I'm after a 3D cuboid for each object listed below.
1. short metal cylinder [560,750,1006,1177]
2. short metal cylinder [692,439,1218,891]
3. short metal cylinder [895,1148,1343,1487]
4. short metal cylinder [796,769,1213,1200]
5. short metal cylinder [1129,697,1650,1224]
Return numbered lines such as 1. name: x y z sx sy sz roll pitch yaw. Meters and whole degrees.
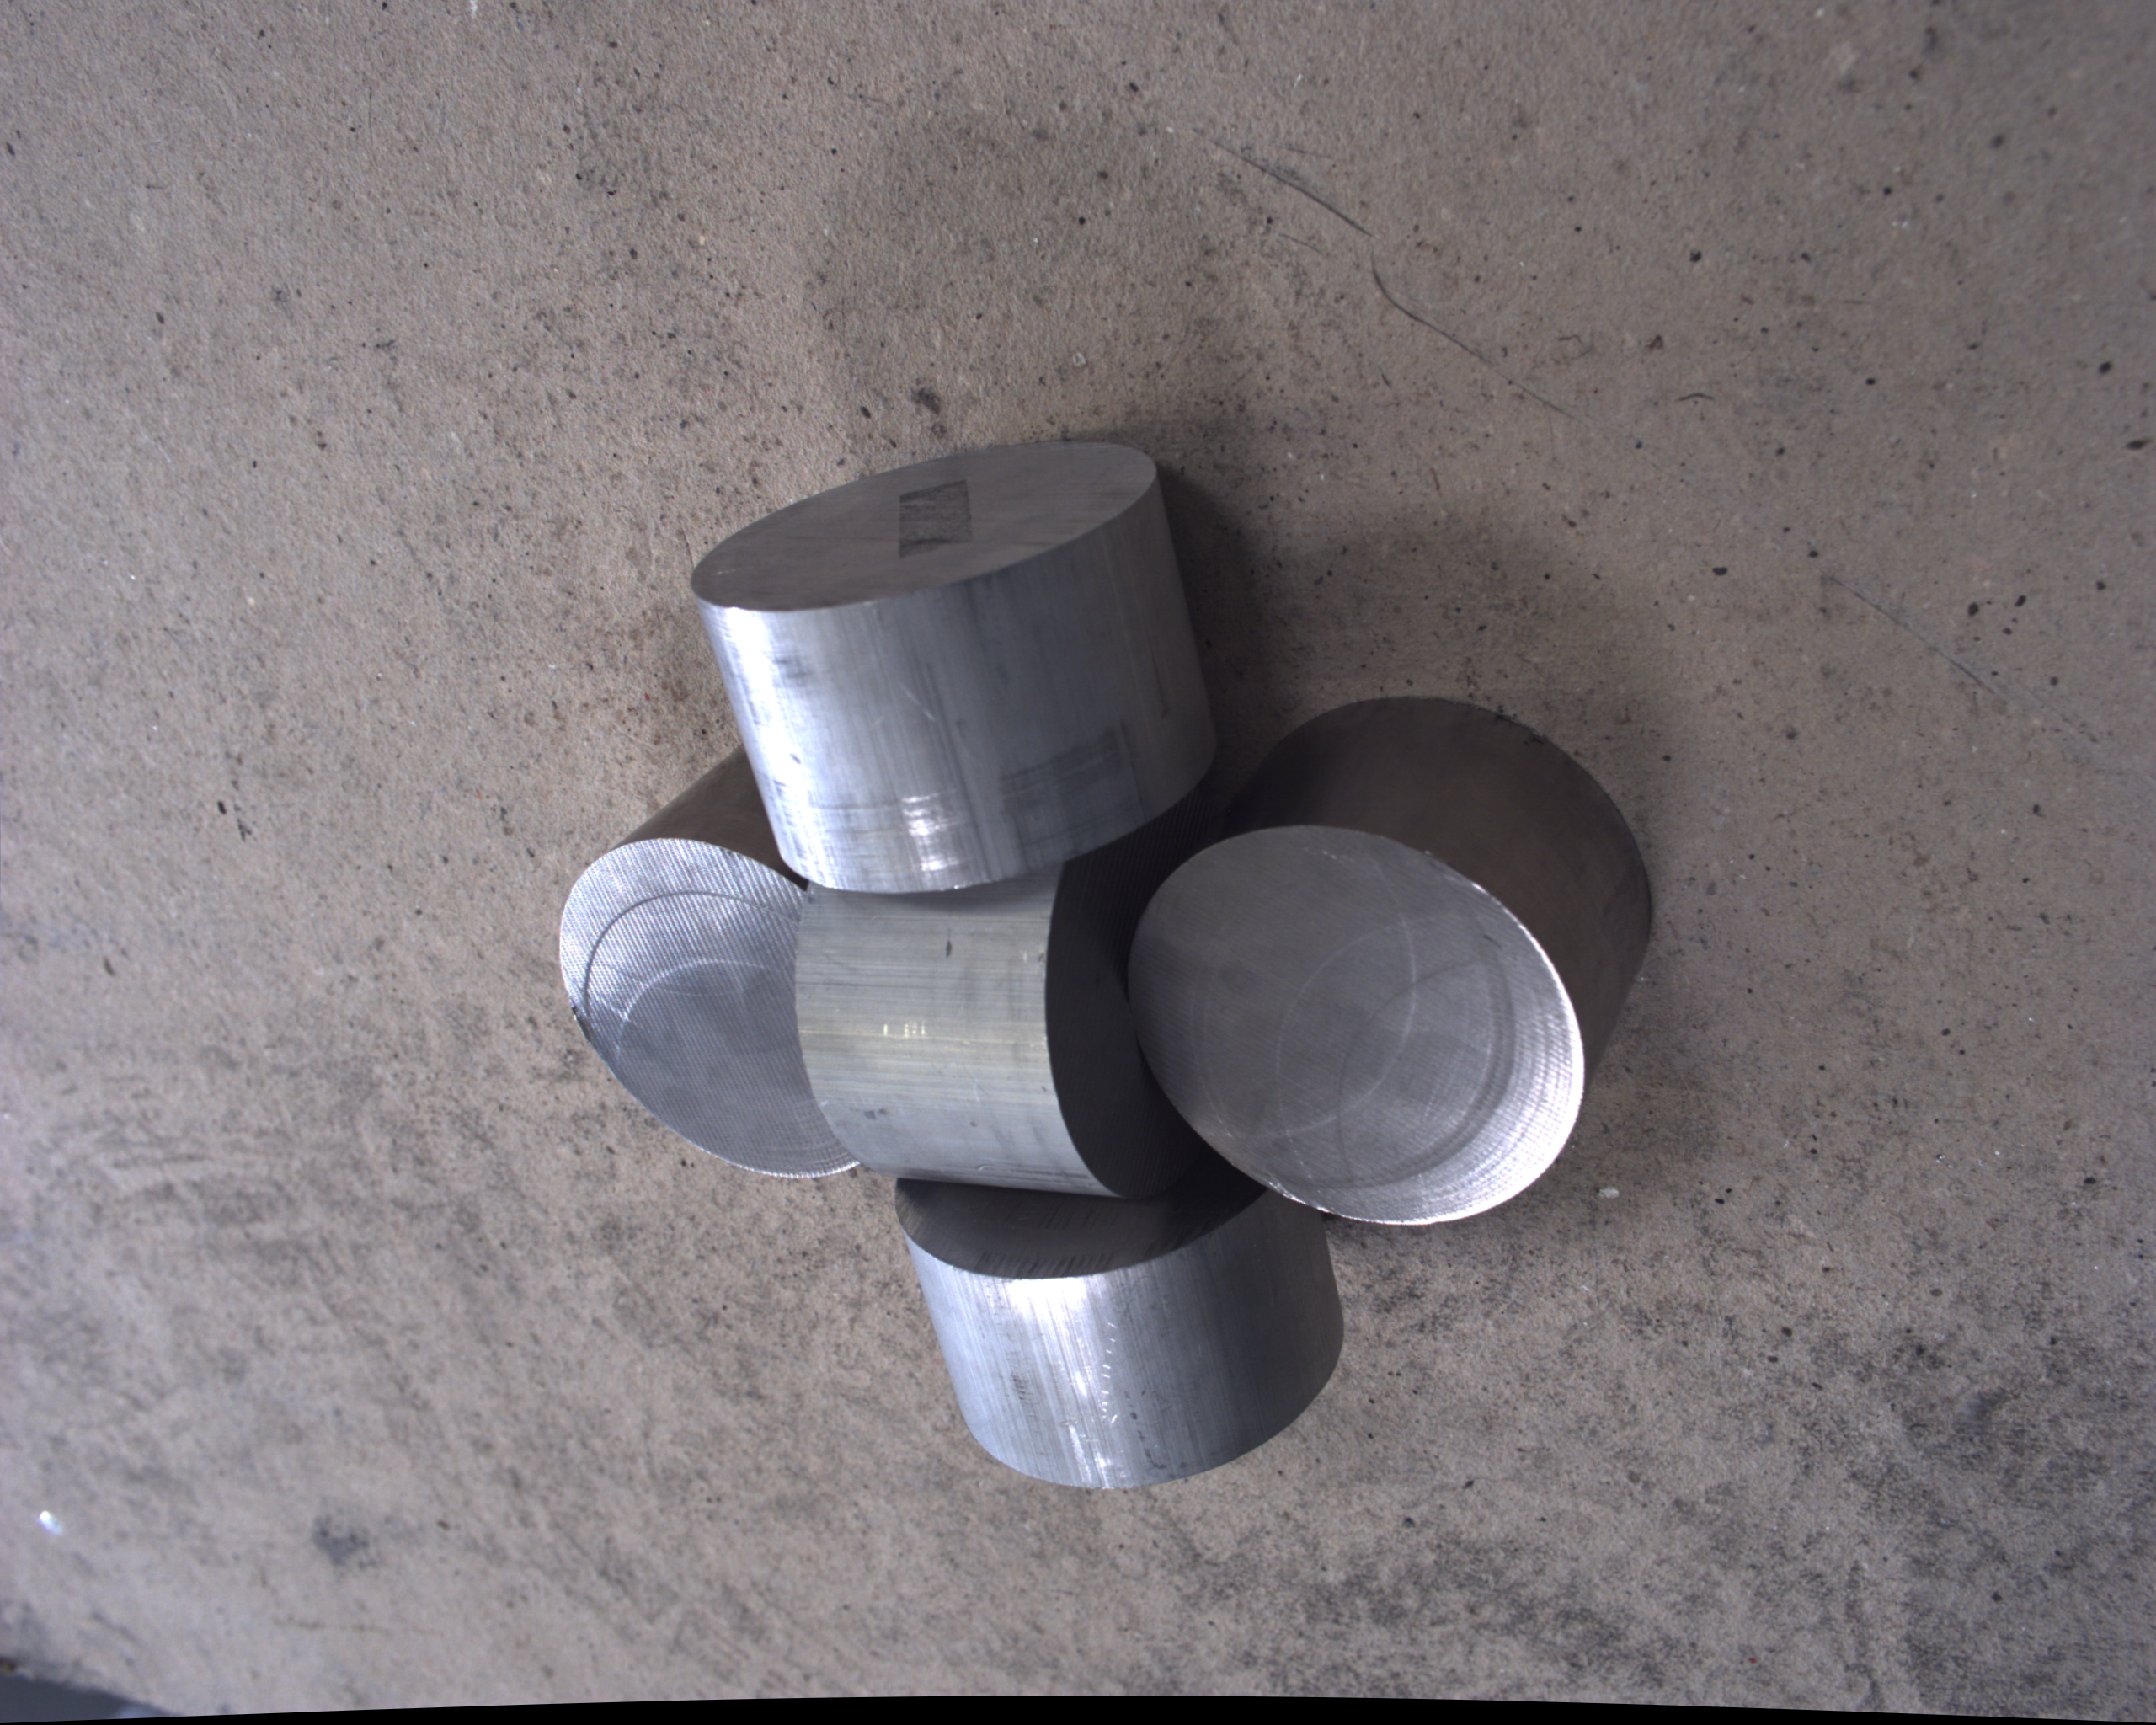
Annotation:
1. short metal cylinder: -0.059 0.018 0.435 0.080 0.050 0.079 13 123 20
2. short metal cylinder: -0.020 -0.036 0.362 0.080 0.080 0.050 0 118 28
3. short metal cylinder: 0.009 0.077 0.417 0.080 0.080 0.050 0 118 28
4. short metal cylinder: -0.008 0.021 0.391 0.050 0.080 0.080 1 119 28
5. short metal cylinder: 0.056 0.017 0.373 0.080 0.050 0.079 13 124 21
